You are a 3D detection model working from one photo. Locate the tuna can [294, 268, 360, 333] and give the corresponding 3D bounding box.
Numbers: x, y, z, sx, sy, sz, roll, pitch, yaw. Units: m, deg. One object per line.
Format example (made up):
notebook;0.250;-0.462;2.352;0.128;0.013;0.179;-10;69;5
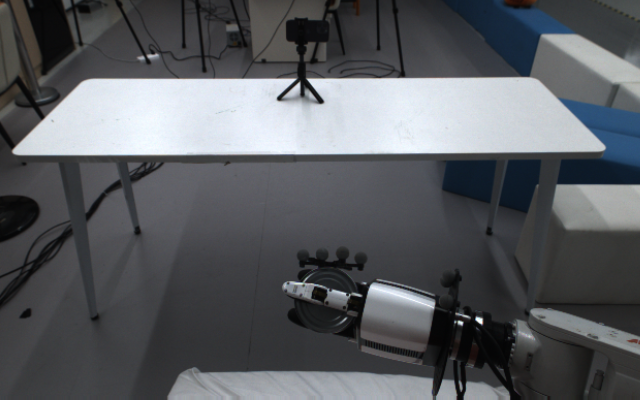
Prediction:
tuna can;0.013;0.137;0.637;0.085;0.034;0.085;-3;73;10
